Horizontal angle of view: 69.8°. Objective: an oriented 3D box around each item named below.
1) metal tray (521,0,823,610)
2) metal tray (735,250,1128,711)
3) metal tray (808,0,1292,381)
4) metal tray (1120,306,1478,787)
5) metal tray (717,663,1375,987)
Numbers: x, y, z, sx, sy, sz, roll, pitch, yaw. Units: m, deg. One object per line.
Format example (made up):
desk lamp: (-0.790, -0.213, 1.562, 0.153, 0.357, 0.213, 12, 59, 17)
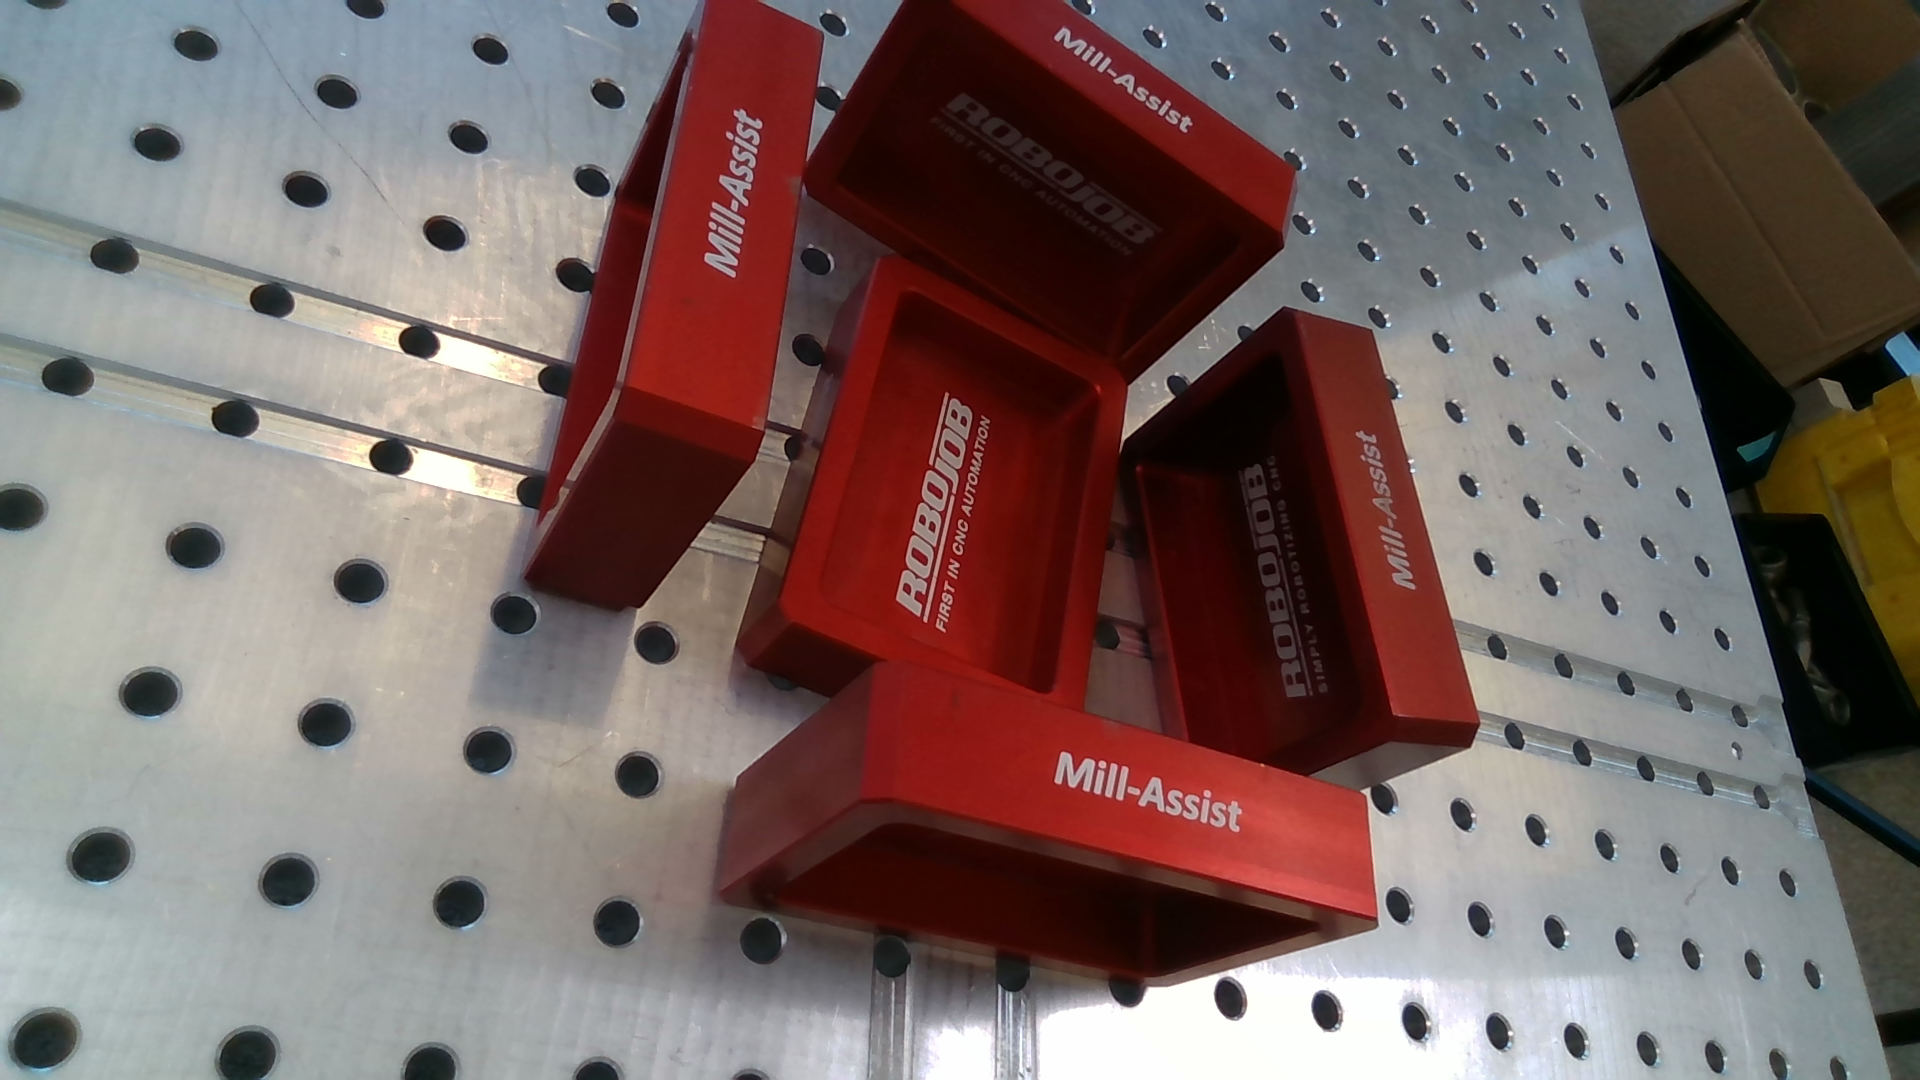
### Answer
metal tray: (-0.071, -0.059, 0.342, 0.030, 0.090, 0.130, 18, 57, -23)
metal tray: (-0.003, -0.011, 0.396, 0.090, 0.030, 0.130, 25, 55, -19)
metal tray: (0.026, -0.112, 0.430, 0.130, 0.090, 0.030, 30, 53, -15)
metal tray: (0.093, 0.010, 0.405, 0.030, 0.090, 0.130, 8, 61, -28)
metal tray: (0.019, 0.073, 0.327, 0.130, 0.090, 0.030, 18, 57, -23)
